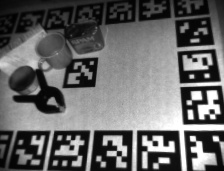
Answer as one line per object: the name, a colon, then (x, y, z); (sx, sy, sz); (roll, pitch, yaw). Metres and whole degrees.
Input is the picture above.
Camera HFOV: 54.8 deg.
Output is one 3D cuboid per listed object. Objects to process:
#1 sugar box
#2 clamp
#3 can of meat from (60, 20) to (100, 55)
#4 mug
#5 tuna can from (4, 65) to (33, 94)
sugar box: (-0.283, -0.106, 0.672); (0.177, 0.094, 0.045); (-36, 62, -5)
clamp: (-0.214, 0.034, 0.629); (0.163, 0.037, 0.122); (35, 74, 19)
can of meat: (-0.092, -0.142, 0.651); (0.101, 0.084, 0.057); (-9, 64, 8)
mug: (-0.195, -0.096, 0.645); (0.092, 0.082, 0.117); (24, 76, 20)
tuna can: (-0.287, -0.017, 0.660); (0.085, 0.034, 0.085); (-4, 68, 11)
